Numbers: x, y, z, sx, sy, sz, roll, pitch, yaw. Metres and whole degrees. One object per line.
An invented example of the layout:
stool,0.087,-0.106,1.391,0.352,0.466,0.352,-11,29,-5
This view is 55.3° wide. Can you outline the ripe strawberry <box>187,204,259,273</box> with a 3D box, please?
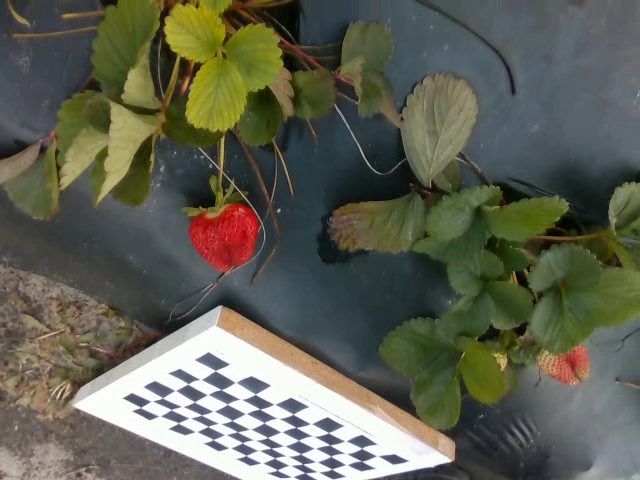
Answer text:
ripe strawberry,-0.019,0.001,0.118,0.017,0.015,0.014,-10,1,26
